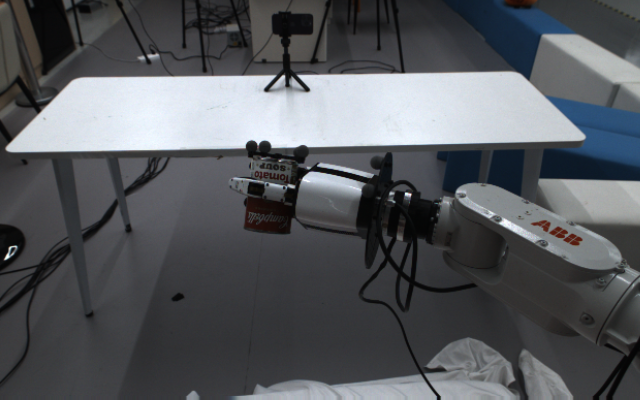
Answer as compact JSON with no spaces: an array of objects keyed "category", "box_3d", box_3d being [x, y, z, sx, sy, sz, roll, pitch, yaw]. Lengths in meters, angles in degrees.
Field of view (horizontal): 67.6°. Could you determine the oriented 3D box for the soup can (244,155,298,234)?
[{"category":"soup can","box_3d":[-0.068,-0.006,0.681,0.067,0.101,0.067,7,3,0]}]
